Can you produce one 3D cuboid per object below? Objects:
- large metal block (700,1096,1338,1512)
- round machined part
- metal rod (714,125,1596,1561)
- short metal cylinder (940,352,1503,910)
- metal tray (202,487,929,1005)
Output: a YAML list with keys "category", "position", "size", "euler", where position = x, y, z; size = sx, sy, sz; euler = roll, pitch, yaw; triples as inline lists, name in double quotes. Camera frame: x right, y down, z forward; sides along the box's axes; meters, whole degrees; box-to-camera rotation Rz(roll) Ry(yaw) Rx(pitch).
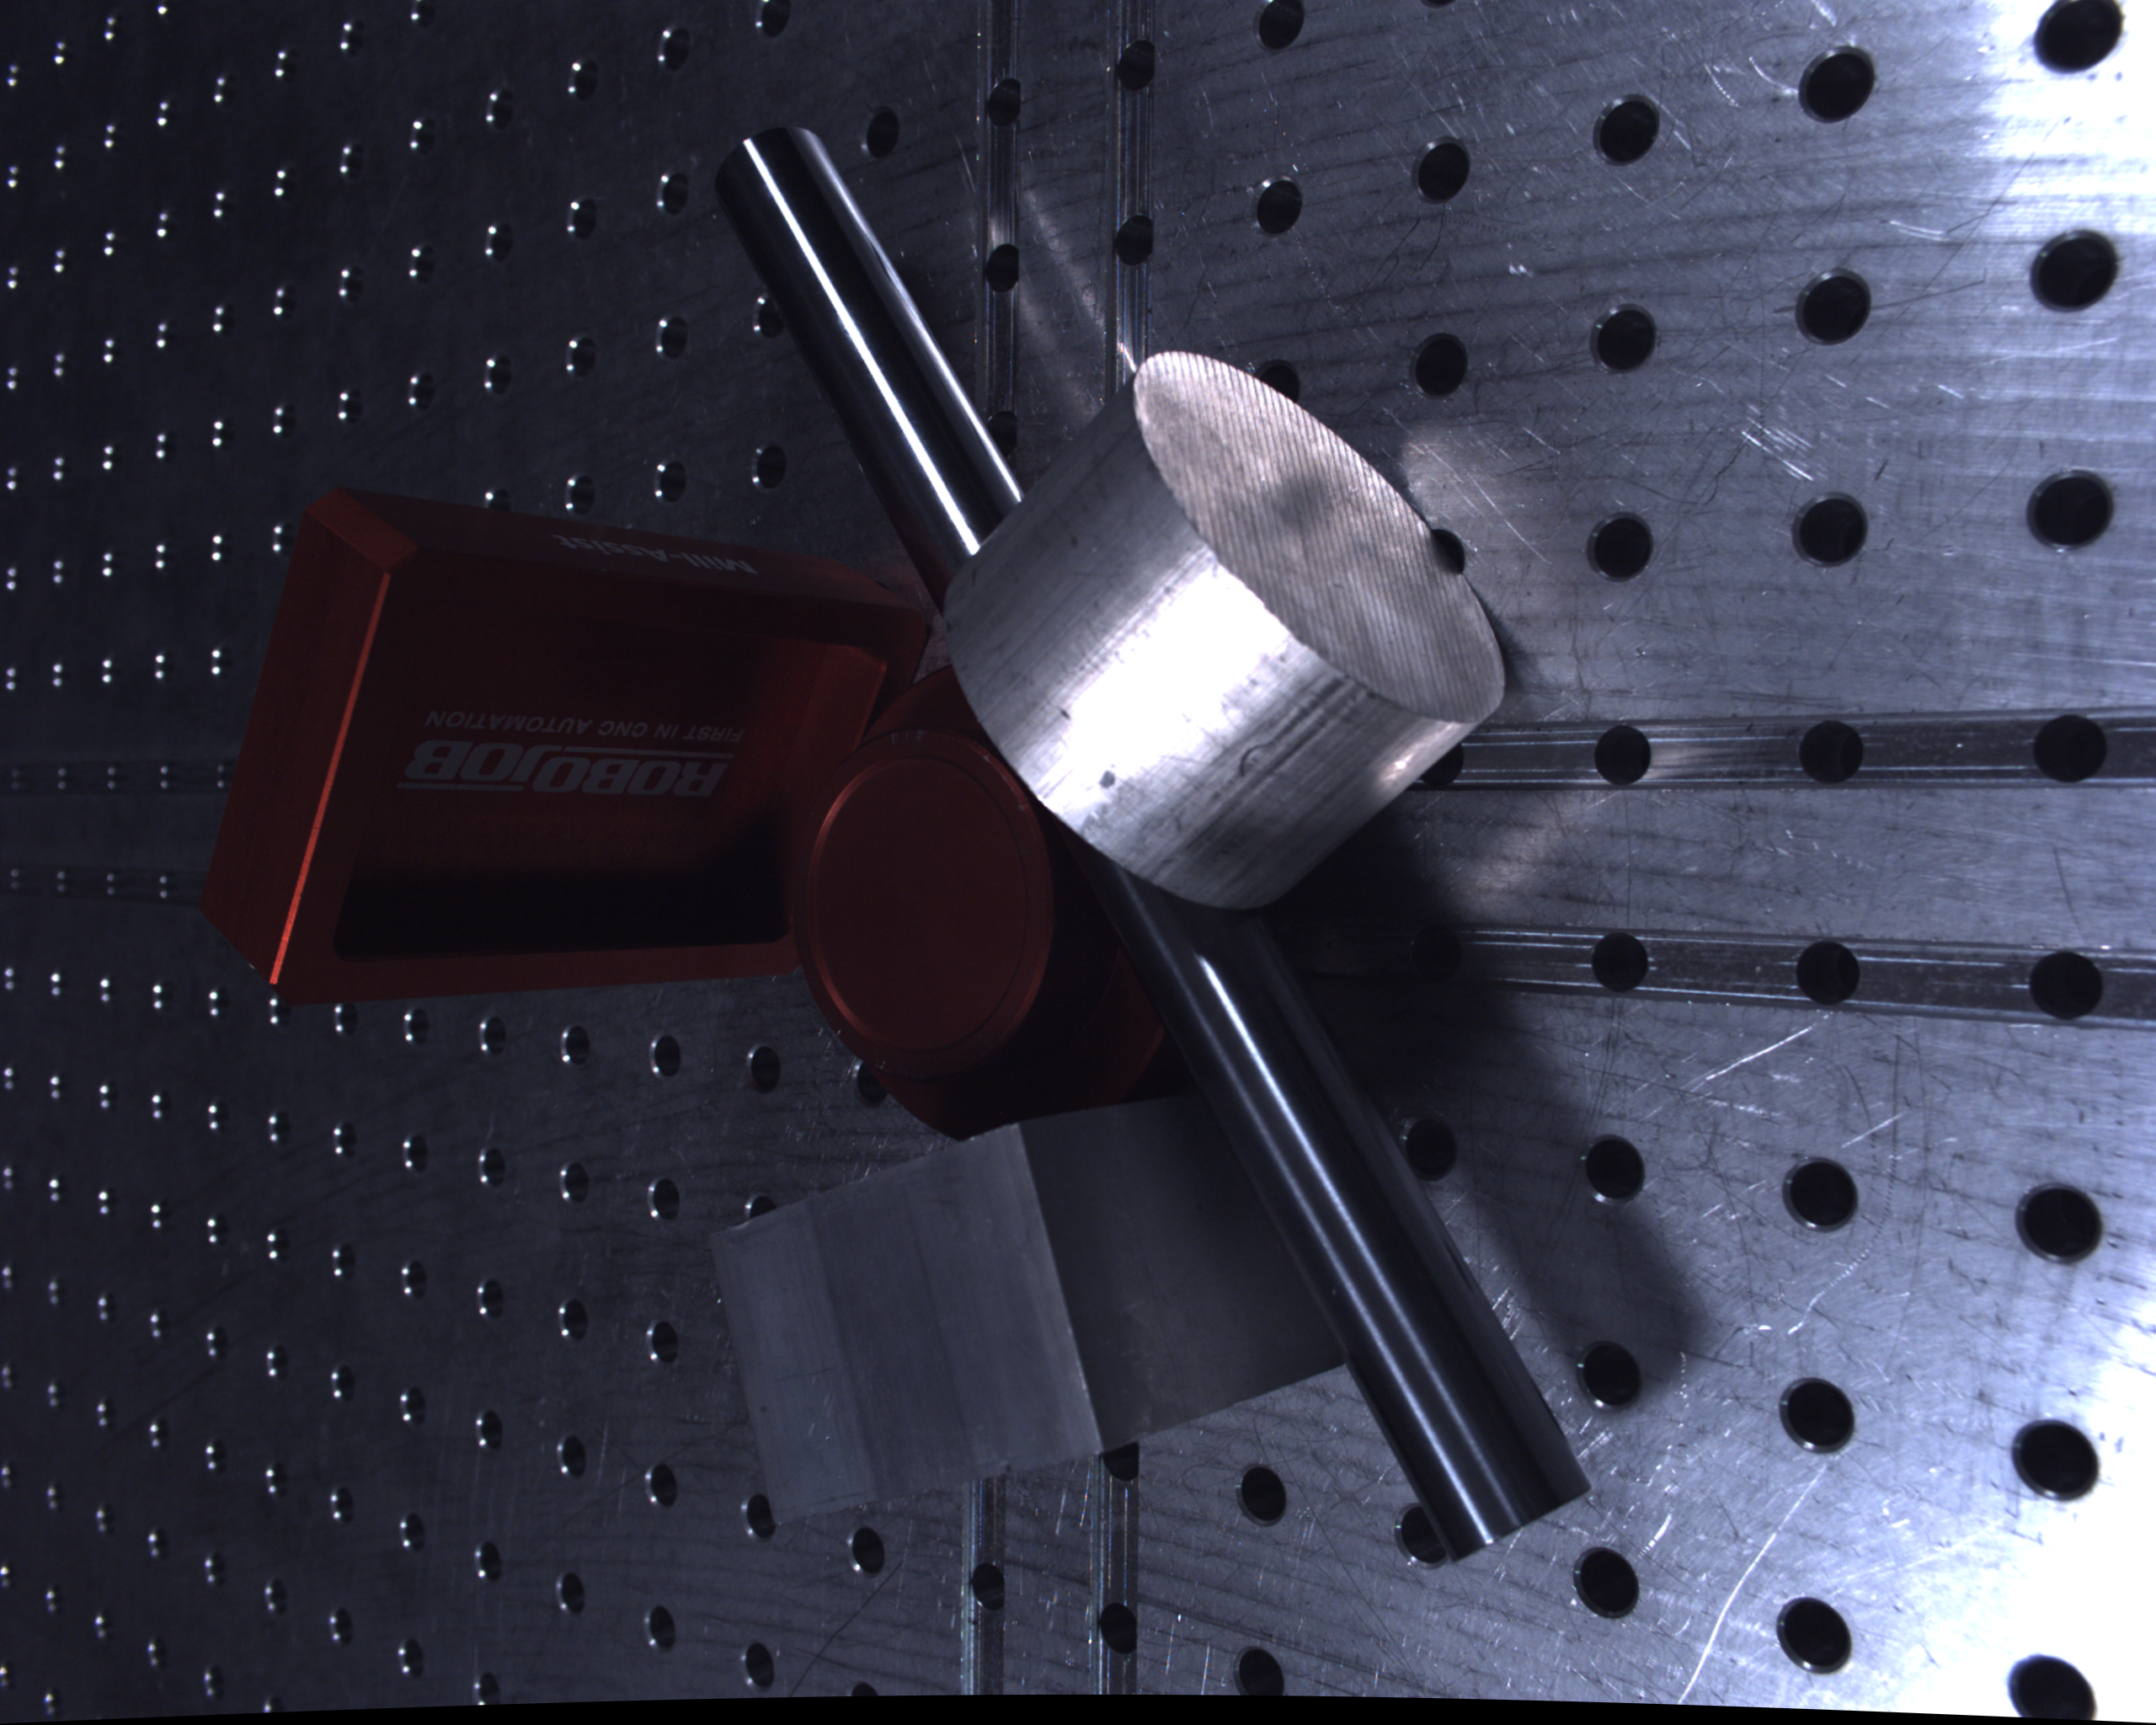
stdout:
- category: "large metal block"
  position: [-0.007, 0.077, 0.377]
  size: [0.080, 0.081, 0.050]
  euler: [-24, 75, 37]
- category: "round machined part"
  position: [-0.018, 0.008, 0.411]
  size: [0.098, 0.042, 0.097]
  euler: [0, 90, 39]
- category: "metal rod"
  position: [0.003, -0.020, 0.378]
  size: [0.025, 0.025, 0.299]
  euler: [-42, 65, 31]
- category: "short metal cylinder"
  position: [0.024, -0.039, 0.350]
  size: [0.050, 0.081, 0.080]
  euler: [-44, 64, 31]
- category: "metal tray"
  position: [-0.098, -0.020, 0.420]
  size: [0.030, 0.131, 0.089]
  euler: [34, 111, 34]
